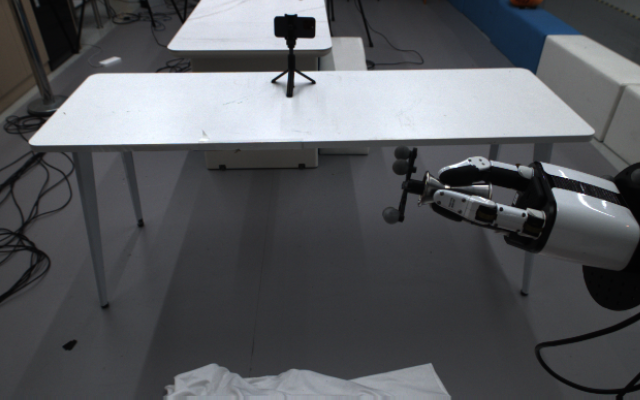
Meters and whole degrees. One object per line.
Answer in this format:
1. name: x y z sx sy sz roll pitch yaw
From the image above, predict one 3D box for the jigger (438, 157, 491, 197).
1. jigger: 0.147 -0.010 0.519 0.071 0.043 0.043 12 36 5
